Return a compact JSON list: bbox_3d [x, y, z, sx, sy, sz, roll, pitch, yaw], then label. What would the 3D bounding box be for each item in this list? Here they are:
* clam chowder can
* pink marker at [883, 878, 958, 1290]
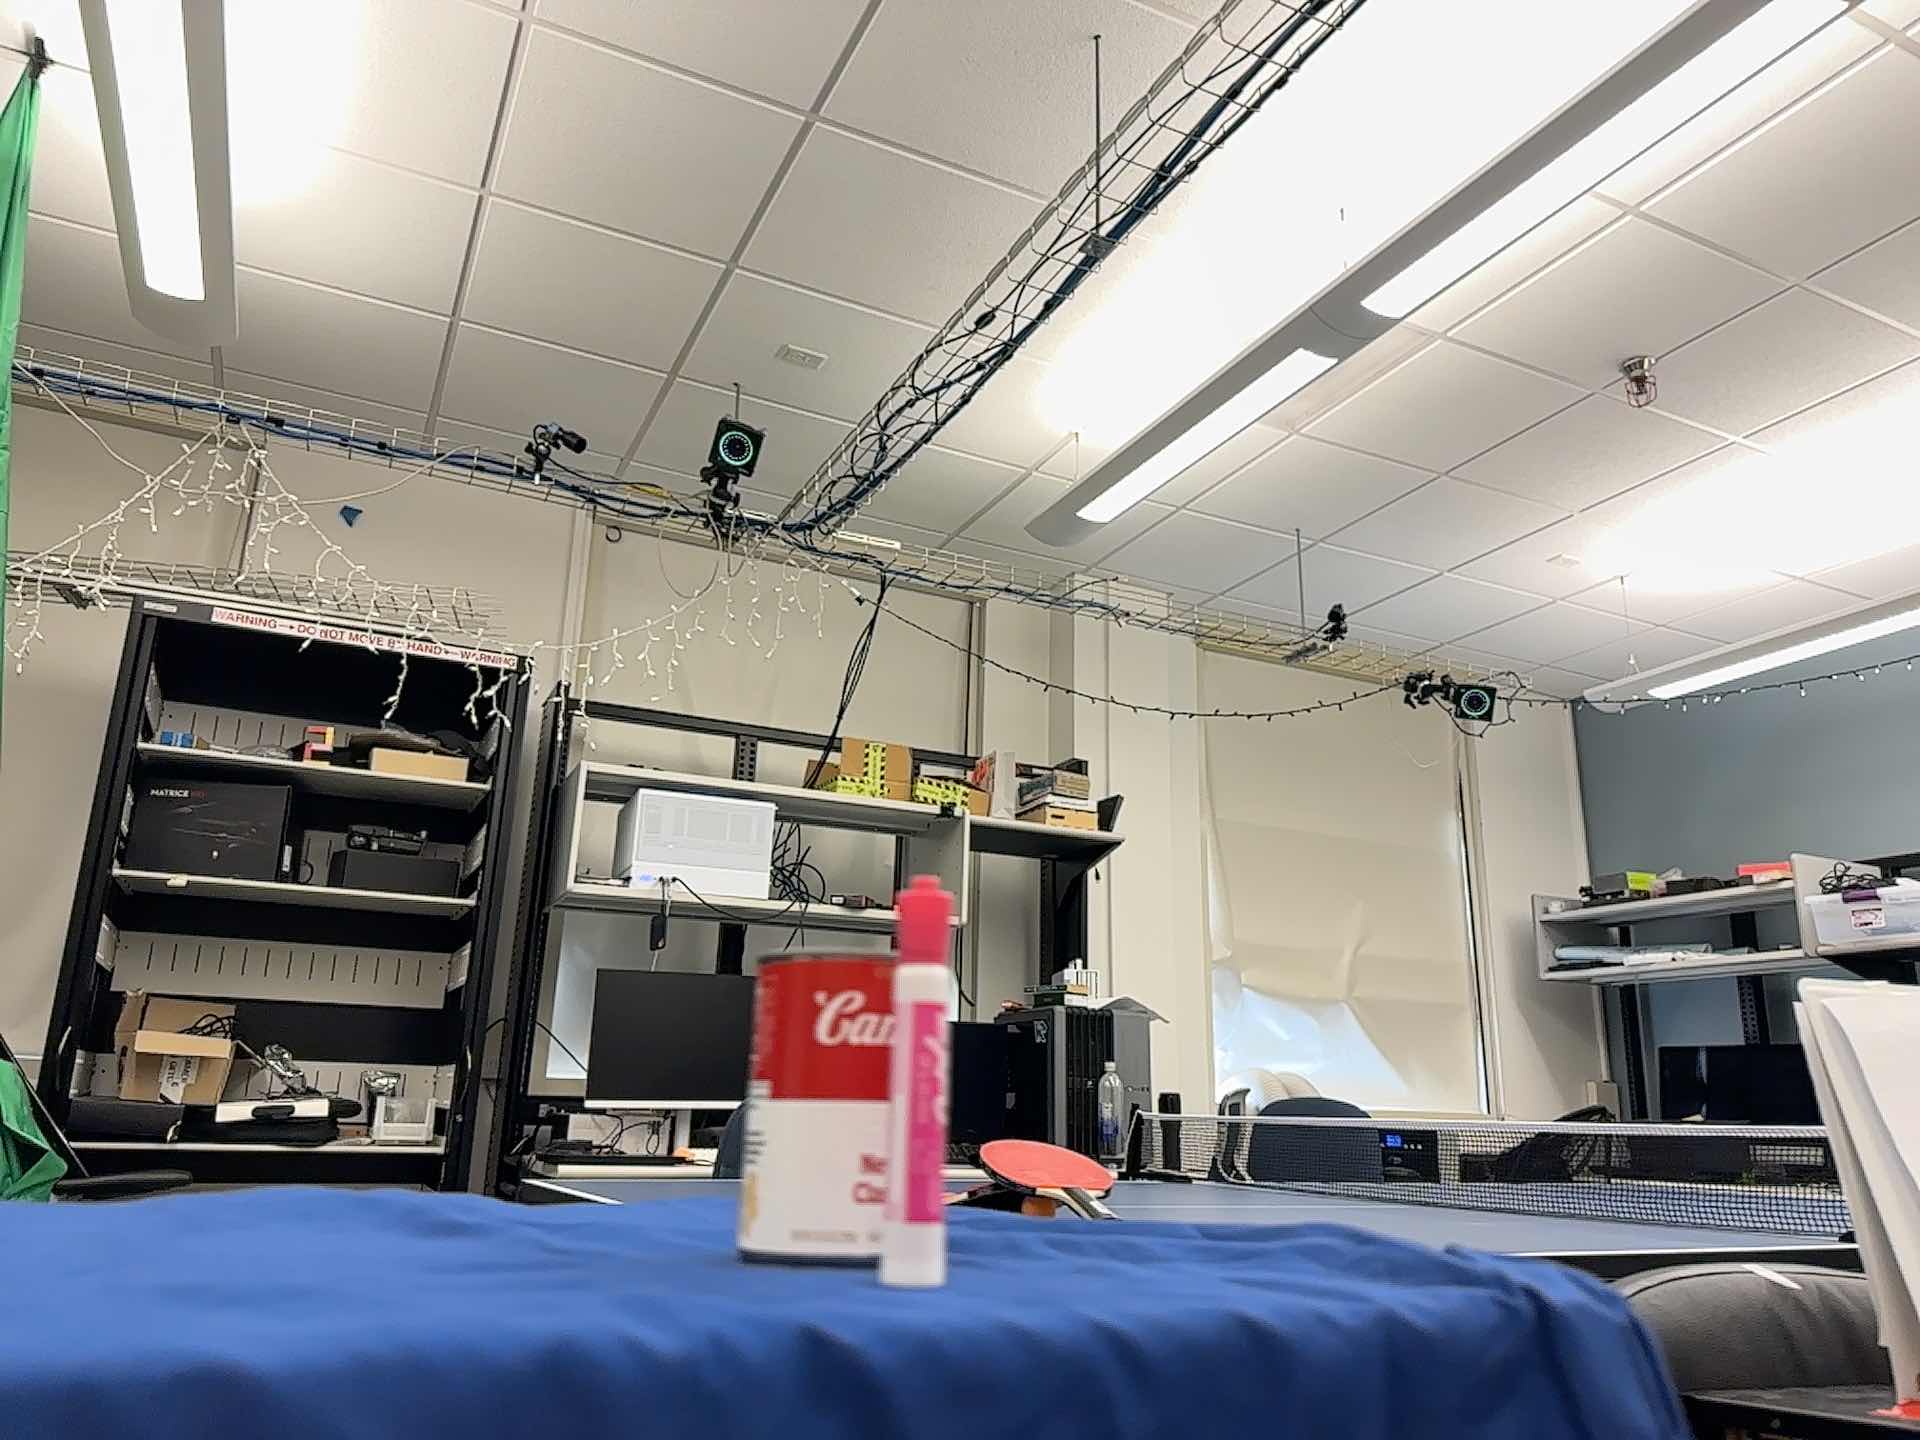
[{"bbox_3d":[-0.040,0.133,0.474,0.068,0.102,0.068,2,-13,0],"label":"clam chowder can"},{"bbox_3d":[-0.012,0.109,0.414,0.020,0.121,0.020,1,-14,0],"label":"pink marker"}]
